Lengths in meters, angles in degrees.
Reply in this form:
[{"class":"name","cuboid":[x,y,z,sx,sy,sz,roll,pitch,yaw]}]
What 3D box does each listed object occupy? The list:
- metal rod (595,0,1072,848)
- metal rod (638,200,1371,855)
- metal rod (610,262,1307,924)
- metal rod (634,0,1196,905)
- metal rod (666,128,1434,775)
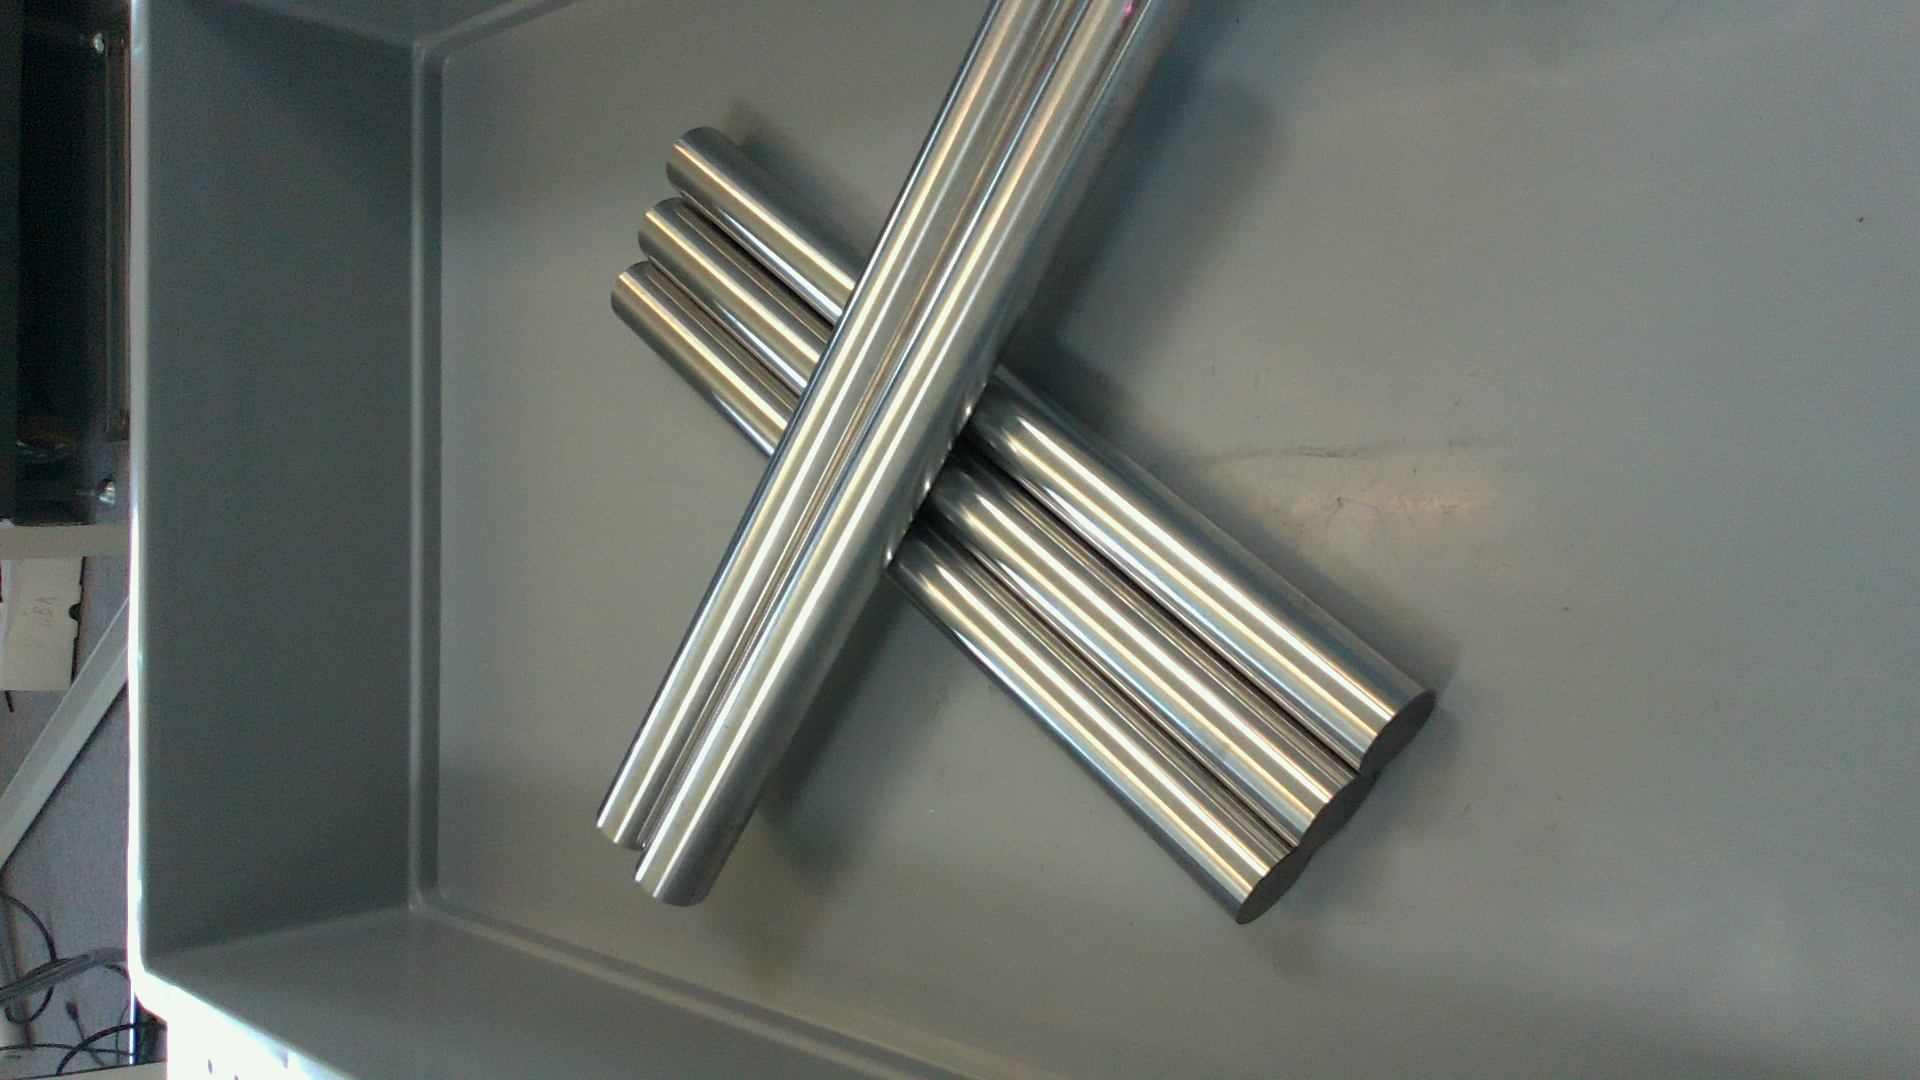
[{"class":"metal rod","cuboid":[-0.039,-0.028,0.394,0.025,0.025,0.300,44,117,31]},{"class":"metal rod","cuboid":[-0.007,-0.022,0.399,0.299,0.025,0.025,42,116,32]},{"class":"metal rod","cuboid":[-0.019,-0.003,0.409,0.299,0.025,0.025,42,116,32]},{"class":"metal rod","cuboid":[-0.023,-0.013,0.380,0.025,0.025,0.300,44,117,31]},{"class":"metal rod","cuboid":[0.005,-0.042,0.389,0.299,0.025,0.025,42,116,32]}]
